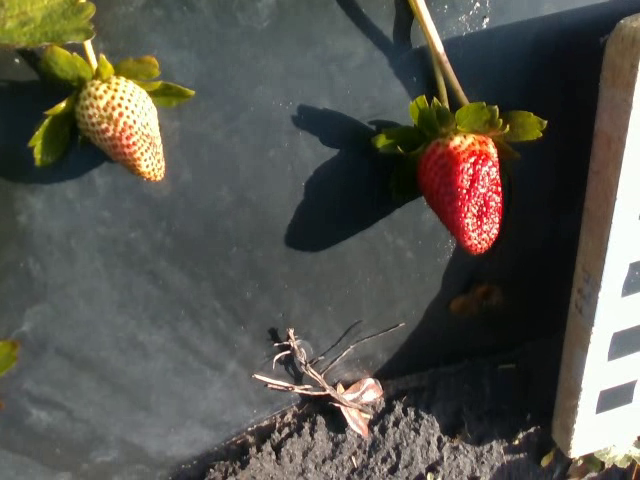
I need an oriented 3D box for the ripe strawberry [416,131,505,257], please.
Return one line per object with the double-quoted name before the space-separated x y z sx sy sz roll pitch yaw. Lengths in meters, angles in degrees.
"ripe strawberry" 0.020 -0.008 0.088 0.015 0.023 0.015 -10 -13 -12
